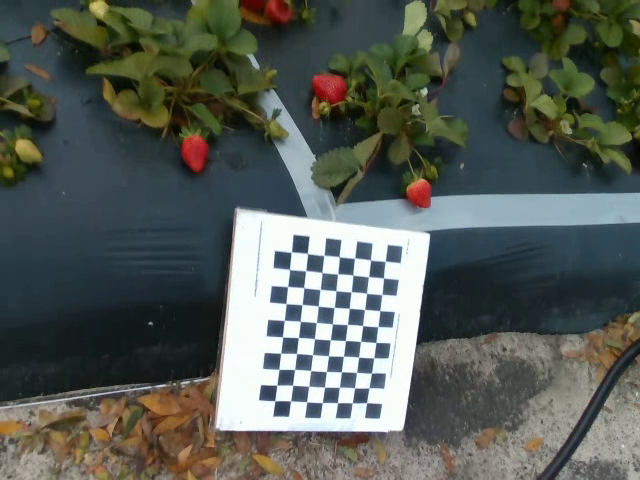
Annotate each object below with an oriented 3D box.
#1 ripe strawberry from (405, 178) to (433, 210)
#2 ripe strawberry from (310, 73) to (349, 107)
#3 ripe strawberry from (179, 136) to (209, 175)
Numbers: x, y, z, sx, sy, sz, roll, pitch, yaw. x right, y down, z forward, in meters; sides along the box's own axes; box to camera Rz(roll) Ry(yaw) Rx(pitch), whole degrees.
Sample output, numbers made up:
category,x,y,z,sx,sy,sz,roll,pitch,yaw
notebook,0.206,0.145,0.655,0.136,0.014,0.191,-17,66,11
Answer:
category,x,y,z,sx,sy,sz,roll,pitch,yaw
ripe strawberry,0.137,-0.060,0.877,0.039,0.047,0.041,-28,9,-3
ripe strawberry,0.014,-0.204,0.872,0.062,0.043,0.043,26,5,-13
ripe strawberry,-0.138,-0.095,0.743,0.036,0.046,0.040,-8,-34,-7
